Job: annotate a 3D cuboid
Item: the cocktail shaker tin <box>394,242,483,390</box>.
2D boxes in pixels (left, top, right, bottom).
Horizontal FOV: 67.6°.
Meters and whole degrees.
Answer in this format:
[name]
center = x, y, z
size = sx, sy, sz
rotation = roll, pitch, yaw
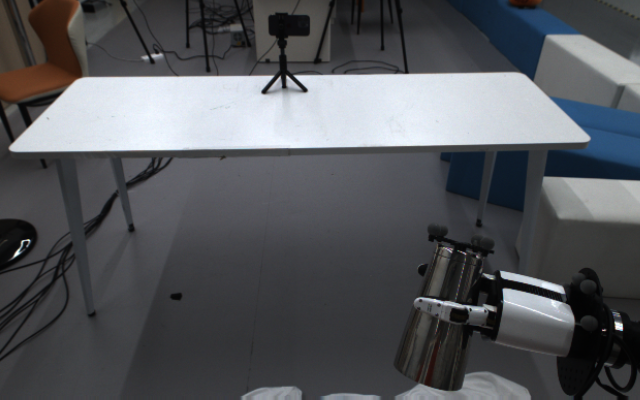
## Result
[cocktail shaker tin]
center = 0.164, 0.148, 0.639
size = 0.093, 0.170, 0.093
rotation = 14, 2, 0
